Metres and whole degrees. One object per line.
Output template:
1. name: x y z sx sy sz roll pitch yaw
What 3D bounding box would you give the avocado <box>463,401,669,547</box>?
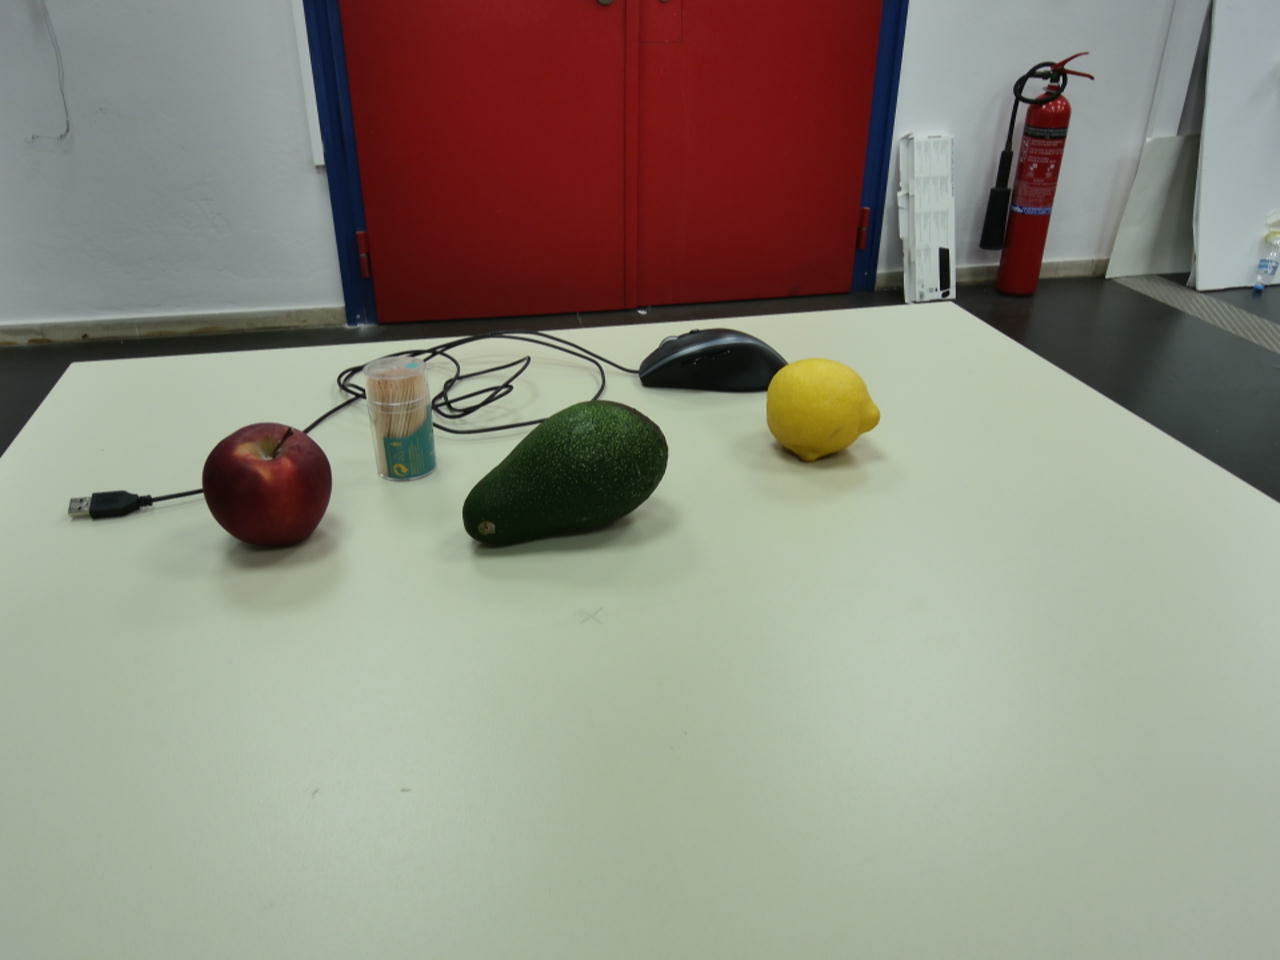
1. avocado: -0.044 -0.009 0.588 0.123 0.076 0.074 -3 27 -6
